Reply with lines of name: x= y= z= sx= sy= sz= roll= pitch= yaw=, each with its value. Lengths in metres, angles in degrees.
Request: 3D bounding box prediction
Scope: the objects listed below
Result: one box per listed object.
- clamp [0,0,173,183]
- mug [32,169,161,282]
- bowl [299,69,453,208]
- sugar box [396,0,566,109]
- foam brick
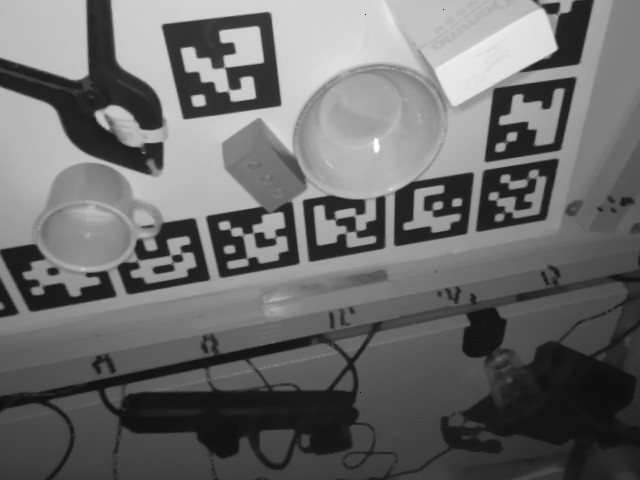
clamp: x=-0.201 y=-0.130 z=0.638 sx=0.165 sy=0.037 sz=0.203 roll=-29 pitch=128 yaw=7
mug: x=-0.220 y=-0.016 z=0.701 sx=0.118 sy=0.082 sz=0.092 roll=13 pitch=124 yaw=-19
bowl: x=0.055 y=-0.113 z=0.713 sx=0.162 sy=0.055 sz=0.160 roll=-7 pitch=129 yaw=-7
sugar box: x=0.129 y=-0.188 z=0.592 sx=0.092 sy=0.177 sz=0.045 roll=-28 pitch=127 yaw=12
foam brick: x=-0.059 y=-0.077 z=0.723 sx=0.052 sy=0.051 sz=0.078 roll=-31 pitch=128 yaw=11
